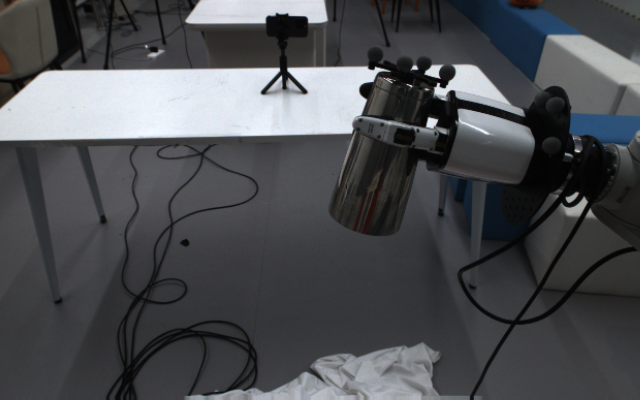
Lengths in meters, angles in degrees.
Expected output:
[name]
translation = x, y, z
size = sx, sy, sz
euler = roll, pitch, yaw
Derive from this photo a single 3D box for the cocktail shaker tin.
[cocktail shaker tin]
translation = 0.077, -0.058, 0.562
size = 0.093, 0.170, 0.093
euler = 12, 25, -6
